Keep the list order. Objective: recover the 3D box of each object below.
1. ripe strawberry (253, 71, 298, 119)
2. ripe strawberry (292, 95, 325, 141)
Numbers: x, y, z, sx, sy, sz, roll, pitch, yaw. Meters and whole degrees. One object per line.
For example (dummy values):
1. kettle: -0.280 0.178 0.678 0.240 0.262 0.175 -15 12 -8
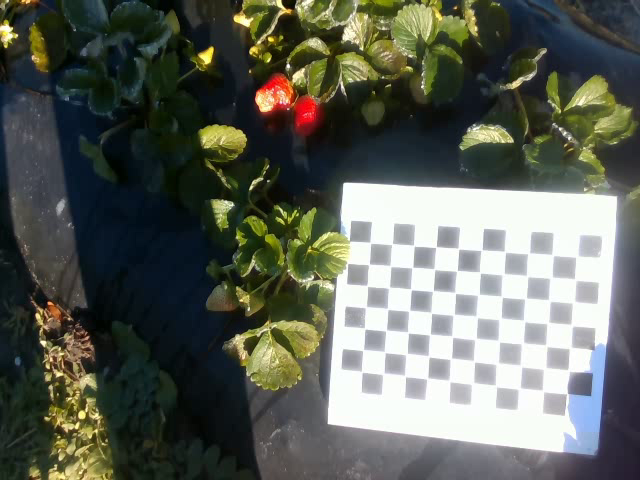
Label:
1. ripe strawberry: -0.064 -0.200 0.829 0.070 0.052 0.040 -40 0 0
2. ripe strawberry: -0.020 -0.175 0.811 0.043 0.059 0.040 4 -5 10
